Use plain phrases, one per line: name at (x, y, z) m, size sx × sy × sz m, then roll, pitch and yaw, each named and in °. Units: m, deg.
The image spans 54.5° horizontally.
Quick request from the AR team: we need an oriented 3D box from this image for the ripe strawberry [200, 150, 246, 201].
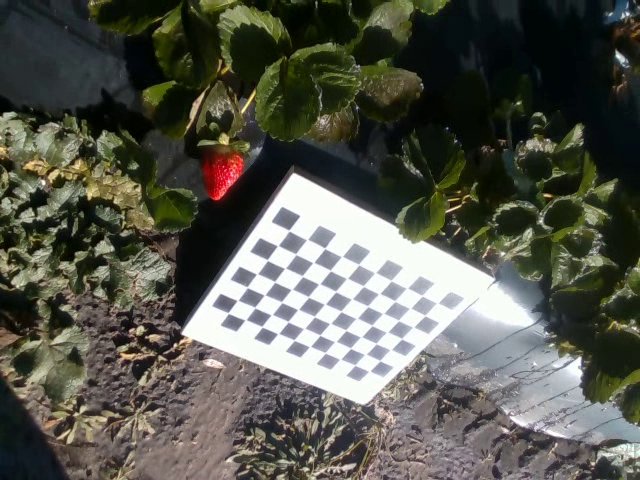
ripe strawberry at (-0.104, -0.069, 0.630) m, size 0.048 × 0.069 × 0.040 m, roll 11°, pitch 28°, yaw -10°
